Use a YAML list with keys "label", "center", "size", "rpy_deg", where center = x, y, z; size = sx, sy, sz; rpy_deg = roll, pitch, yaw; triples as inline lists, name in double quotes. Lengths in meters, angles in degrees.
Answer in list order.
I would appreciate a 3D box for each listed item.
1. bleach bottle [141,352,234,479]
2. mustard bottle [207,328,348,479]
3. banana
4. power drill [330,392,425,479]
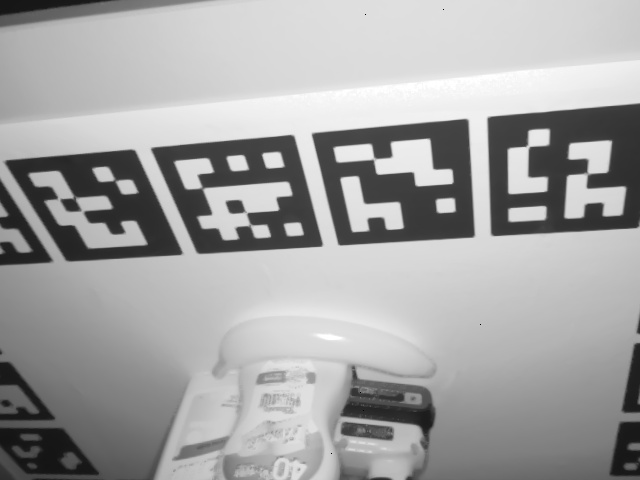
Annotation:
- label: "bleach bottle"
  center: [-0.097, 0.211, 0.565]
  size: [0.102, 0.253, 0.067]
  rpy_deg: [-1, 134, 9]
- label: "mustard bottle"
  center: [-0.035, 0.147, 0.537]
  size: [0.096, 0.193, 0.058]
  rpy_deg: [-2, 128, 11]
- label: "banana"
  center: [-0.010, 0.070, 0.583]
  size: [0.197, 0.039, 0.073]
  rpy_deg: [-1, 127, 5]
- label: "power drill"
  center: [0.014, 0.213, 0.557]
  size: [0.184, 0.189, 0.057]
  rpy_deg: [7, 130, 4]
